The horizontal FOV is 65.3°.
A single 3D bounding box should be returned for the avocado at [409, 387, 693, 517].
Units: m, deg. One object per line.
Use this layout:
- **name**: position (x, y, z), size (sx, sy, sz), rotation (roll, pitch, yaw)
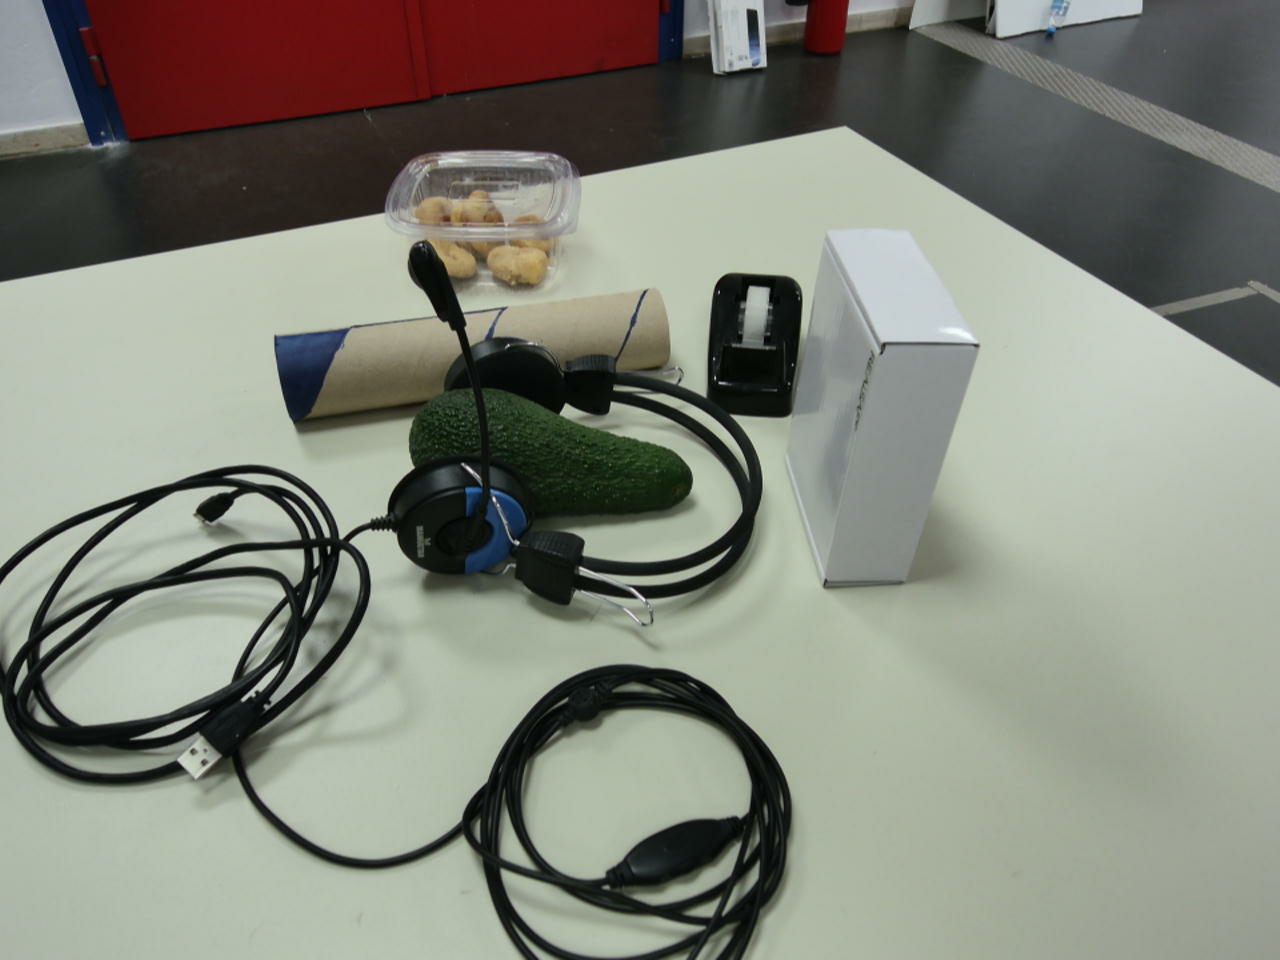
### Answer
- **avocado**: position (-0.043, -0.017, 0.500), size (0.141, 0.067, 0.063), rotation (-6, 39, -8)
